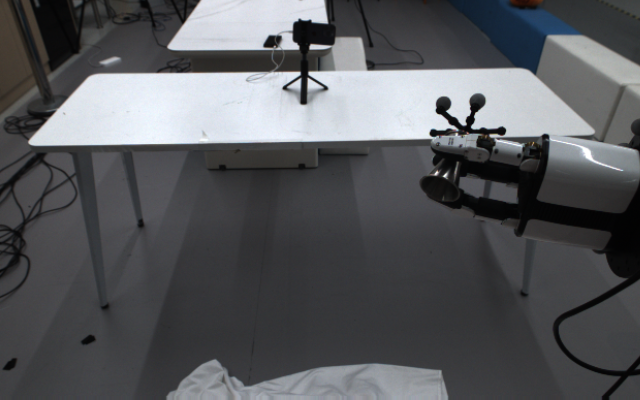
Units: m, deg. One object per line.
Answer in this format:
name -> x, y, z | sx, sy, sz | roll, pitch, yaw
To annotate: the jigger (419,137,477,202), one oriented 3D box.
jigger -> 0.140, -0.041, 0.522 | 0.043, 0.043, 0.071 | 19, 61, 23
